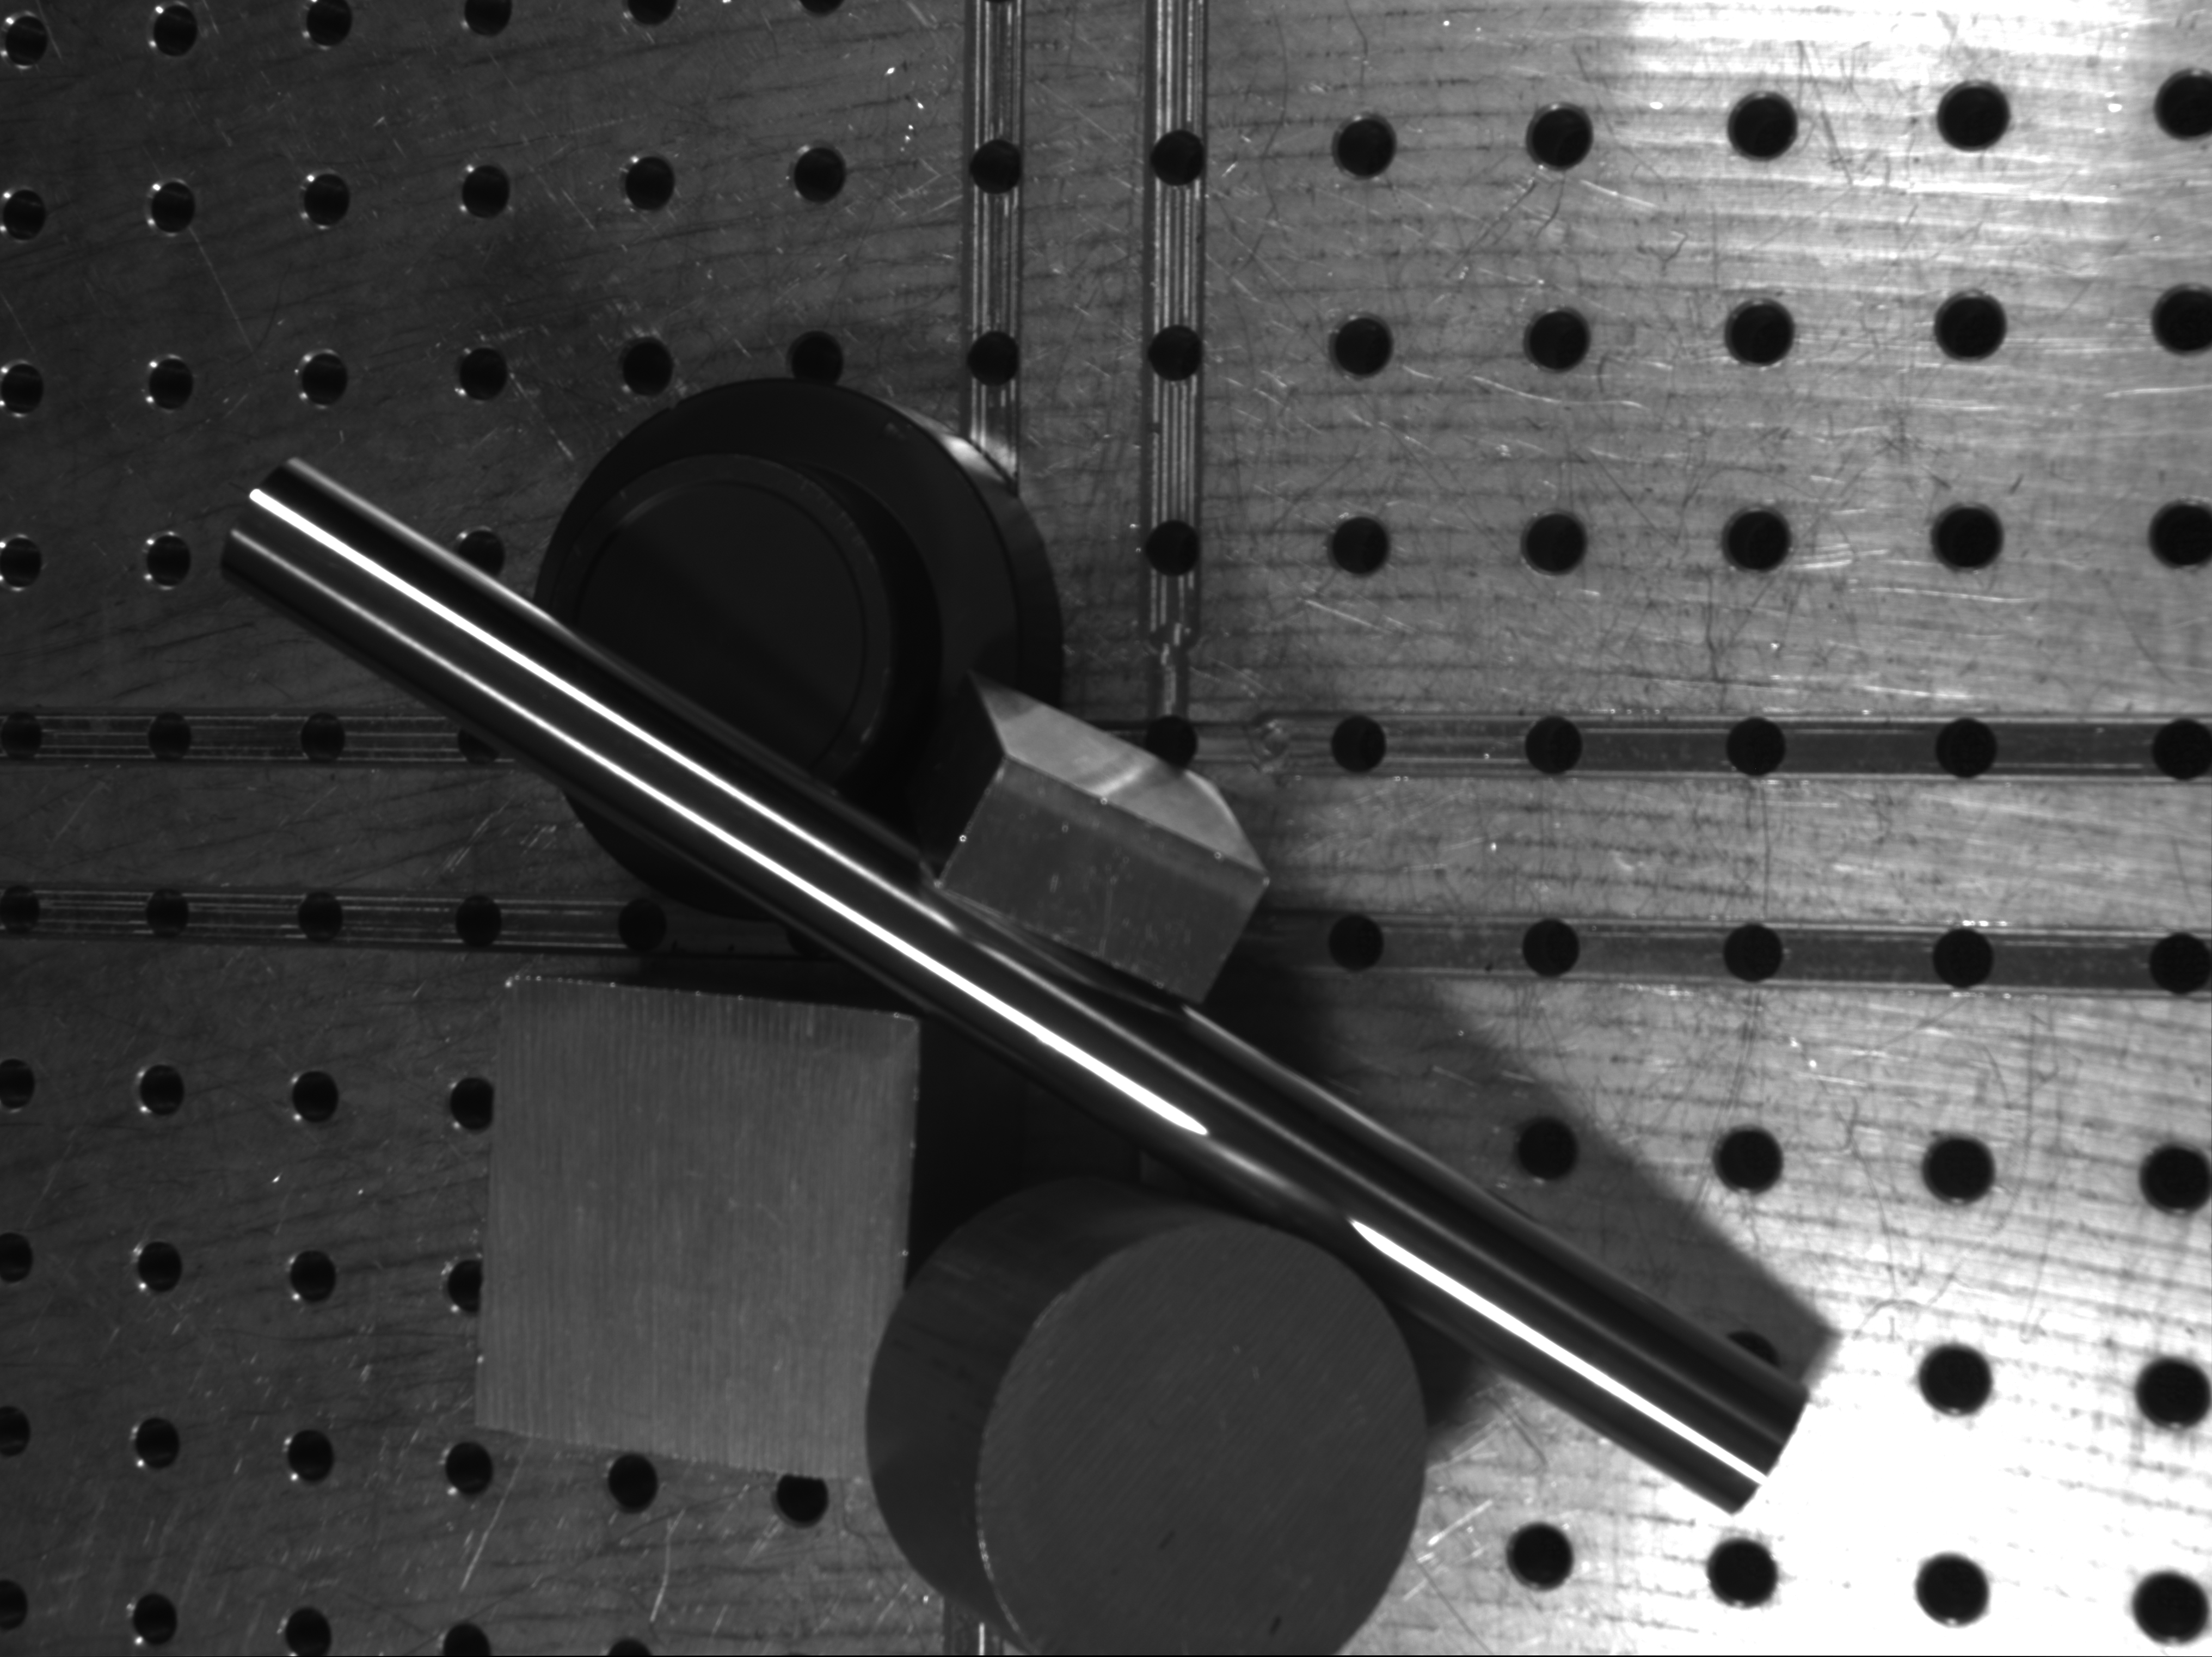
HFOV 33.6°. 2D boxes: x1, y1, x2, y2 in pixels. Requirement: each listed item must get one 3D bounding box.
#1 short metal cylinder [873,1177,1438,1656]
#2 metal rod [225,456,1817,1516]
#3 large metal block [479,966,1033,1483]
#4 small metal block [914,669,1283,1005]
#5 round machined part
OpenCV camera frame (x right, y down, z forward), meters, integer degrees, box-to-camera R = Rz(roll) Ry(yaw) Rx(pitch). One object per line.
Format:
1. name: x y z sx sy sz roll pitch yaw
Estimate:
1. short metal cylinder: 0.008 0.101 0.608 0.080 0.050 0.080 -2 94 -25
2. metal rod: -0.016 0.025 0.618 0.300 0.025 0.025 31 100 4
3. large metal block: -0.061 0.068 0.653 0.080 0.050 0.080 5 92 20
4. small metal block: -0.002 0.001 0.624 0.050 0.050 0.025 24 103 -16
5. round machined part: -0.059 -0.032 0.659 0.098 0.042 0.098 0 90 20
